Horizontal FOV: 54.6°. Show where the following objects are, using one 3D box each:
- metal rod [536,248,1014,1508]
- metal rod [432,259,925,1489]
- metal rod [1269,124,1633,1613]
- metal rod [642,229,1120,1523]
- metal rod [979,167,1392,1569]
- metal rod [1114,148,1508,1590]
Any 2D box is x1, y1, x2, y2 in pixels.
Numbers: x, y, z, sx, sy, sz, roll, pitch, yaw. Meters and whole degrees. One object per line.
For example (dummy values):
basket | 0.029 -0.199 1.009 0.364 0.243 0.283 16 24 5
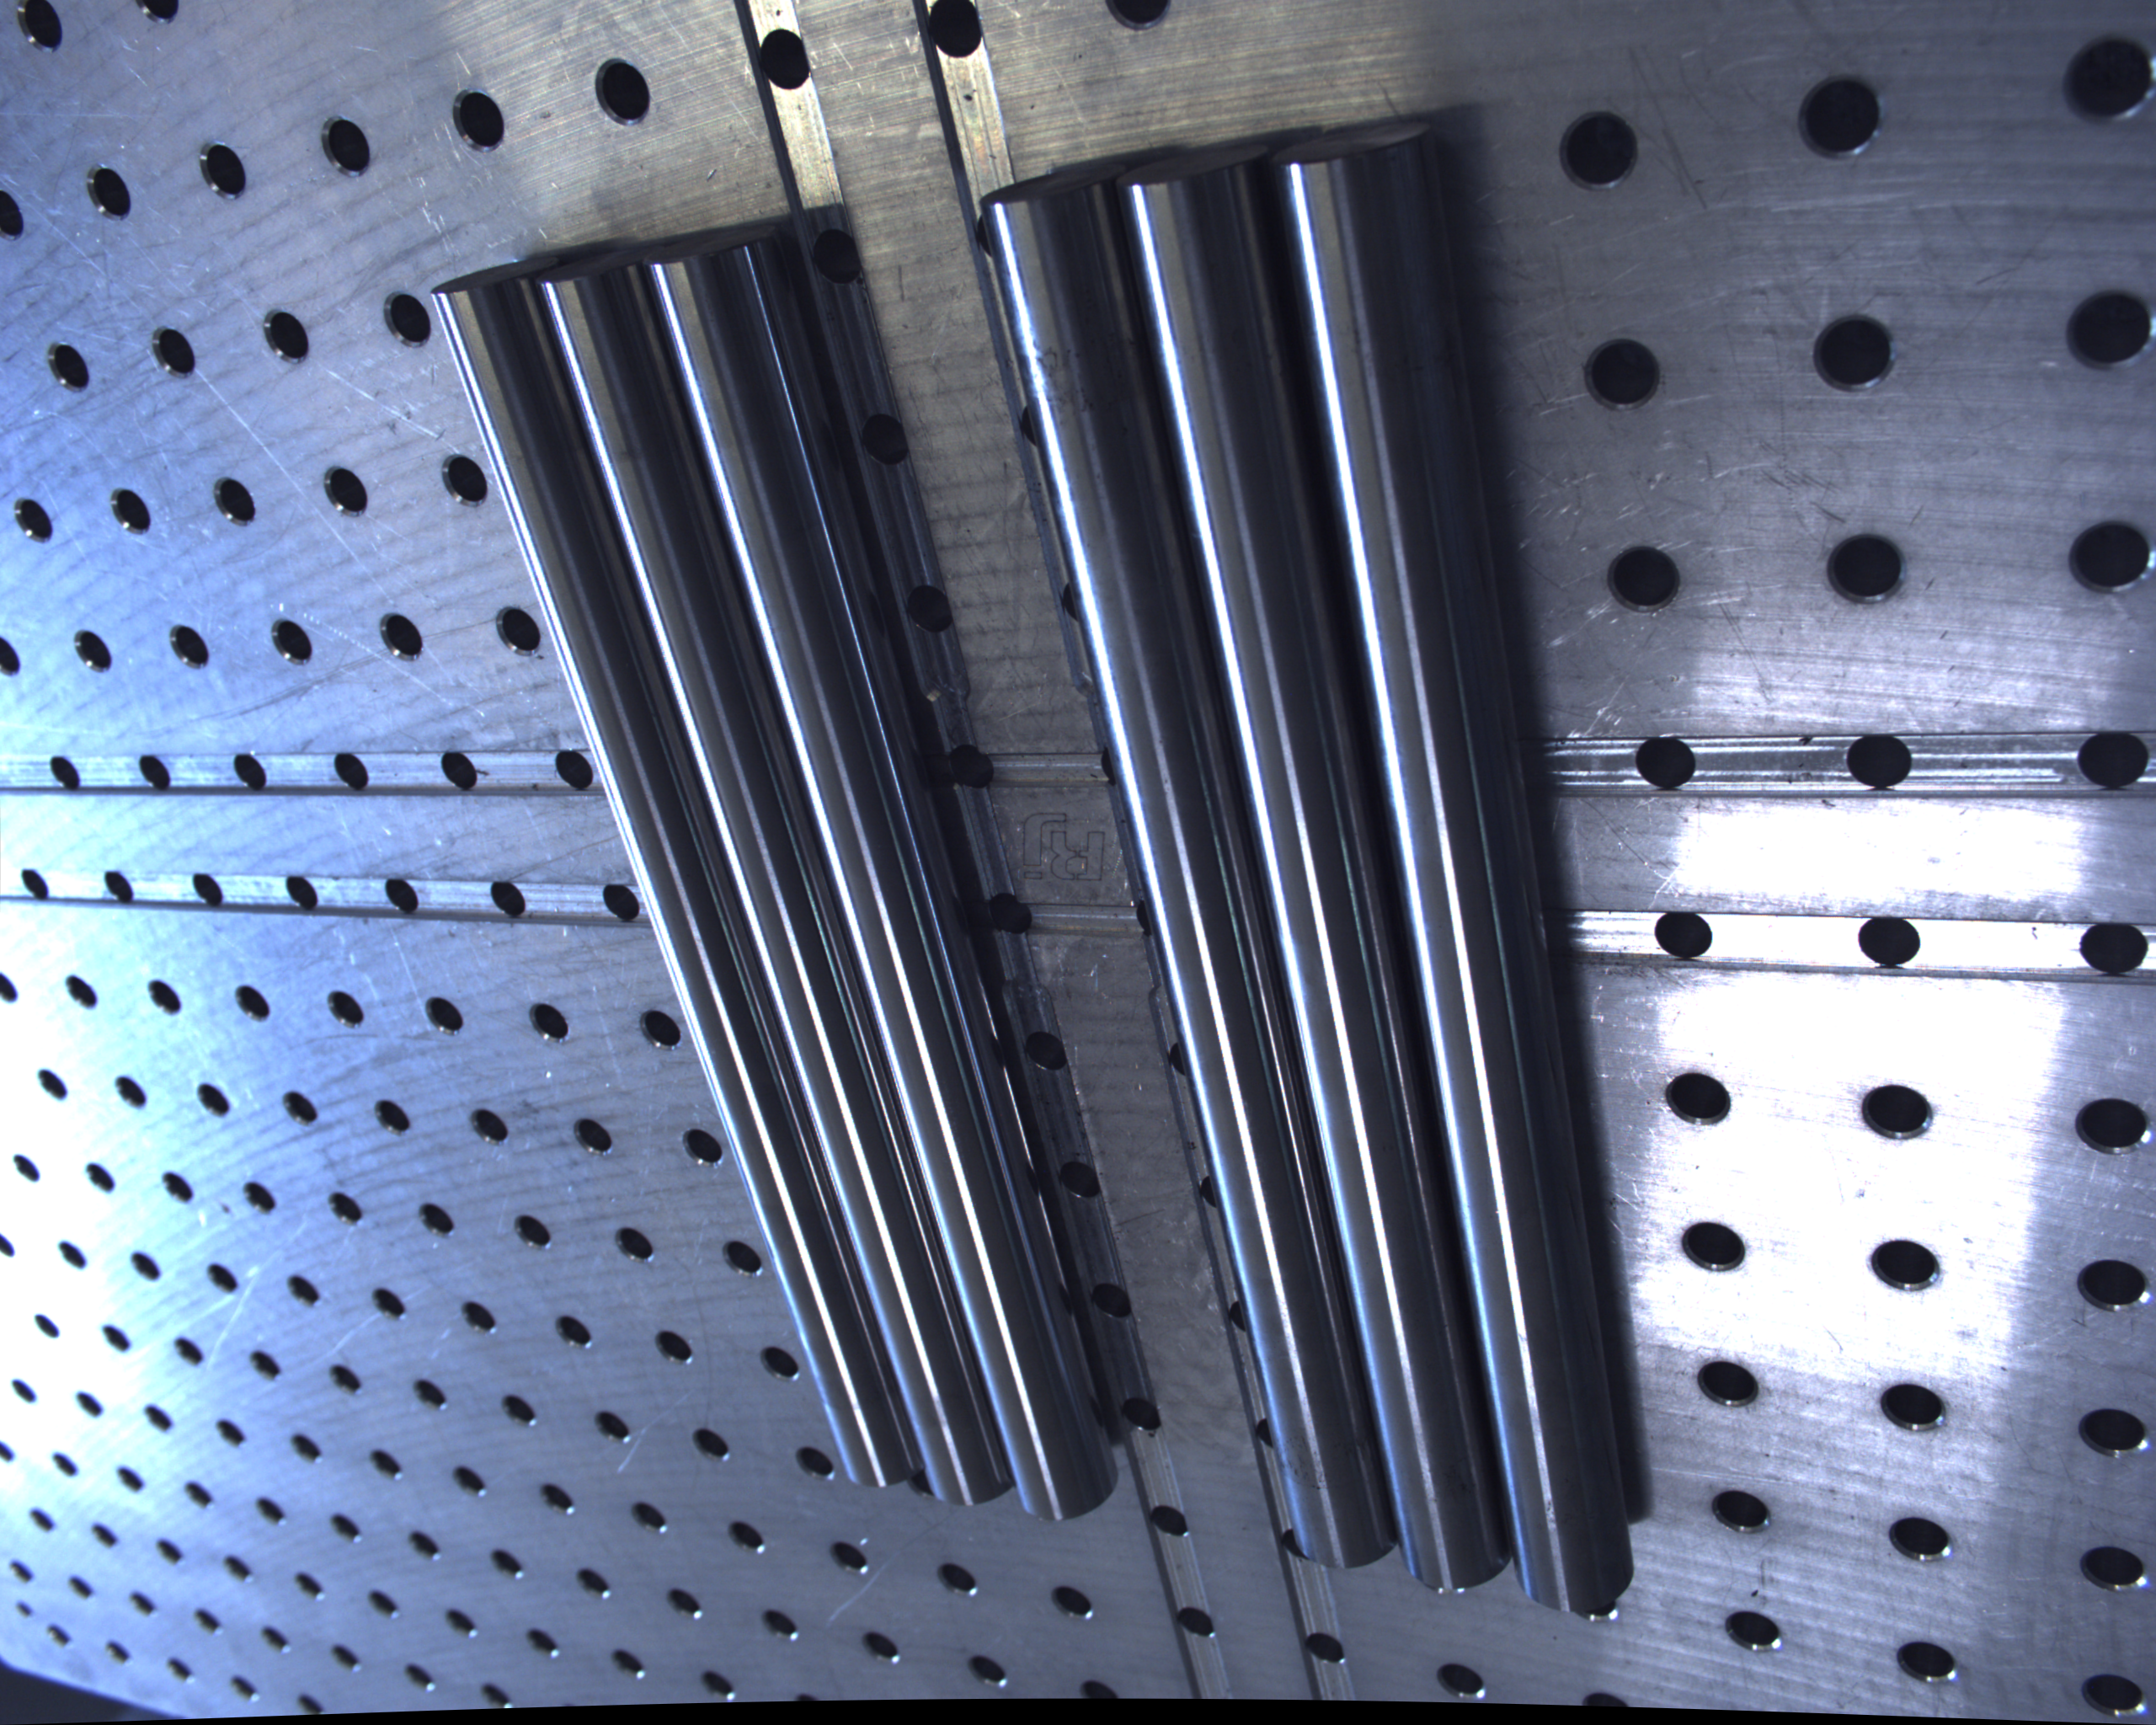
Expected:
metal rod | -0.056 0.020 0.453 0.025 0.025 0.298 1 119 28
metal rod | -0.079 0.019 0.465 0.025 0.025 0.298 1 119 28
metal rod | 0.074 0.021 0.384 0.025 0.025 0.298 1 119 28
metal rod | -0.034 0.020 0.441 0.025 0.025 0.298 1 119 28
metal rod | 0.028 0.019 0.408 0.025 0.025 0.298 1 119 28
metal rod | 0.050 0.020 0.397 0.025 0.025 0.298 1 119 28
